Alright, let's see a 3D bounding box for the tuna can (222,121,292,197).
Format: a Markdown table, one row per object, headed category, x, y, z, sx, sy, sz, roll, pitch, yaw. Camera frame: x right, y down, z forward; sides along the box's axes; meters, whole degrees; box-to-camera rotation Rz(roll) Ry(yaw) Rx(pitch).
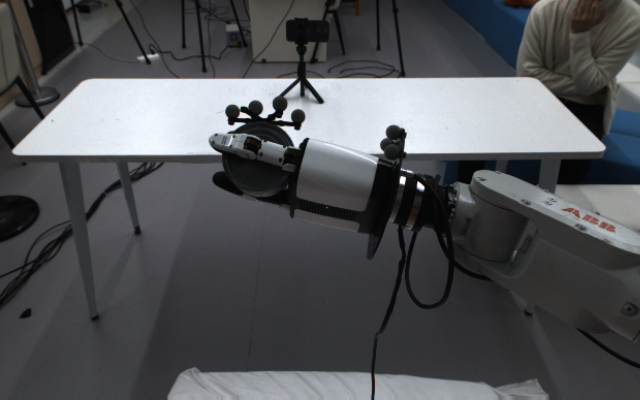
| category | x | y | z | sx | sy | sz | roll | pitch | yaw |
| --- | --- | --- | --- | --- | --- | --- | --- | --- | --- |
| tuna can | -0.069 | -0.047 | 0.576 | 0.085 | 0.034 | 0.085 | 0 | 77 | 0 |
